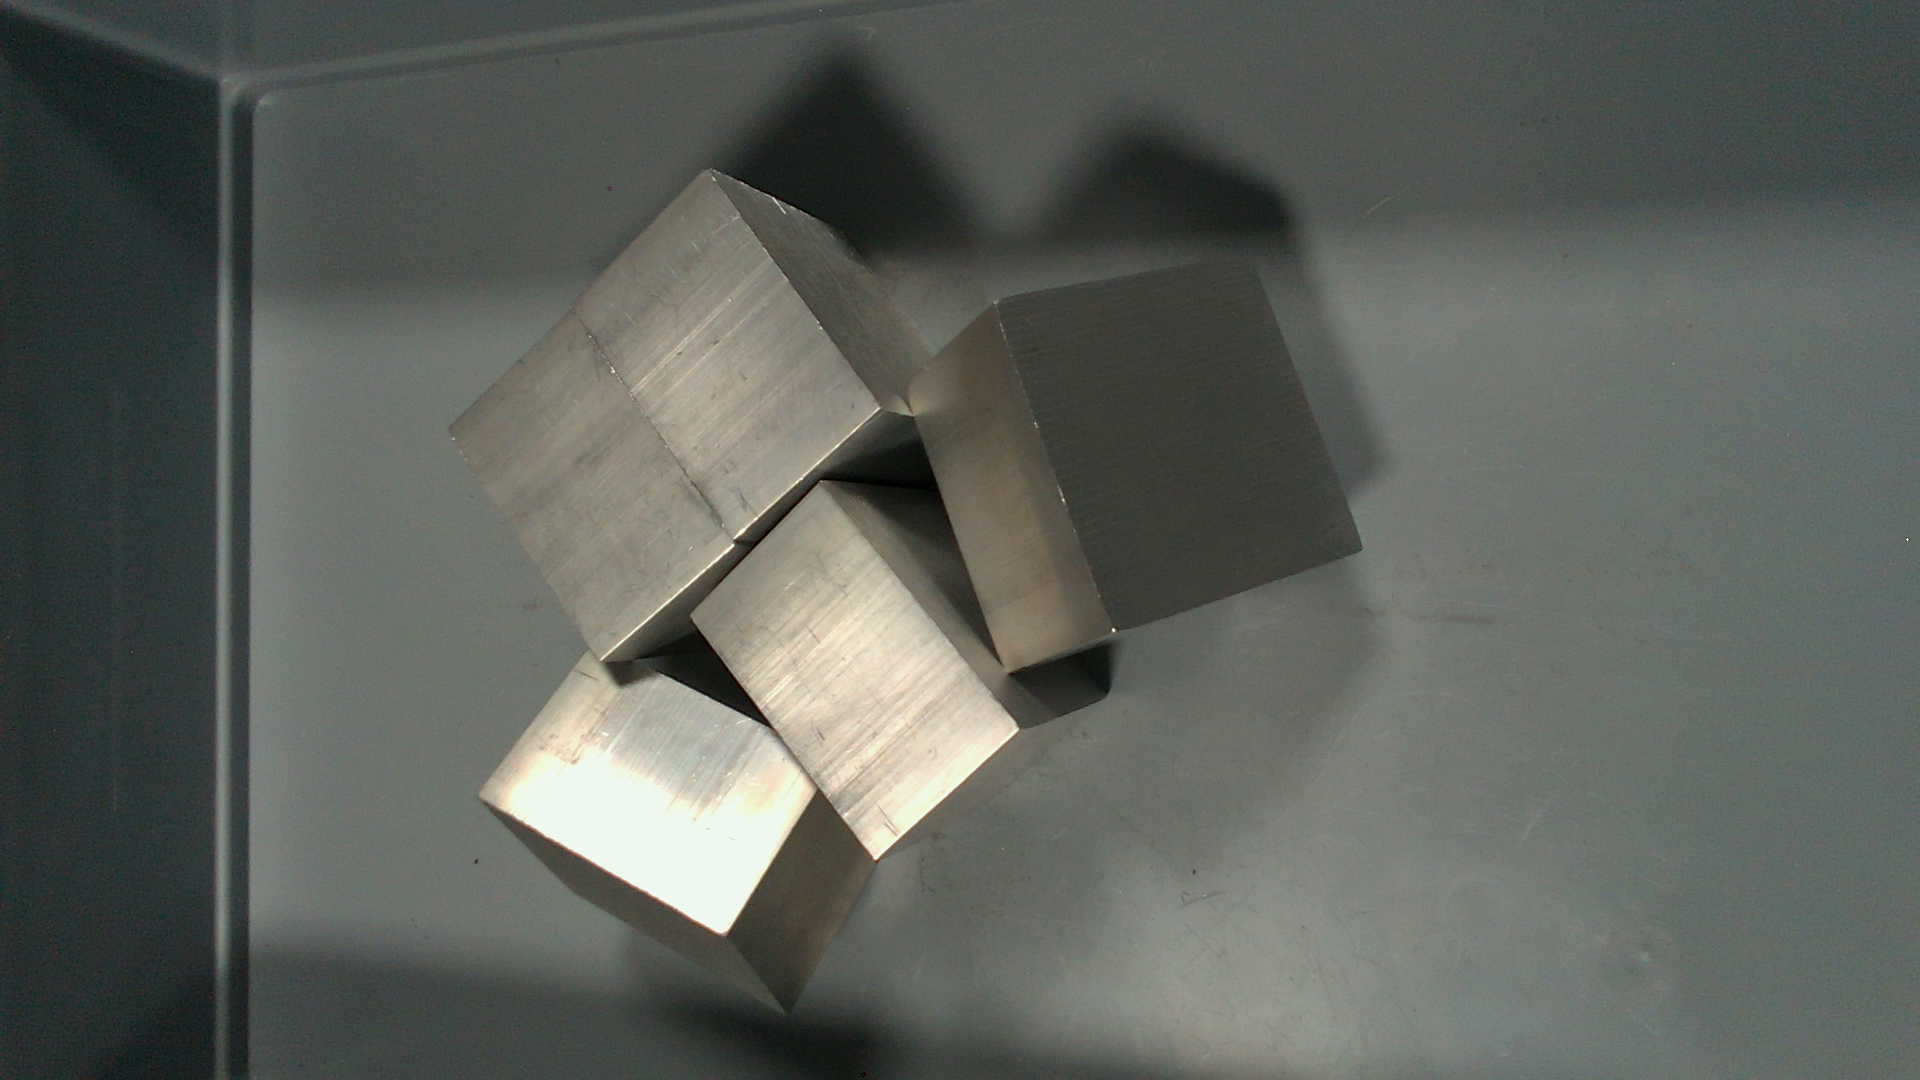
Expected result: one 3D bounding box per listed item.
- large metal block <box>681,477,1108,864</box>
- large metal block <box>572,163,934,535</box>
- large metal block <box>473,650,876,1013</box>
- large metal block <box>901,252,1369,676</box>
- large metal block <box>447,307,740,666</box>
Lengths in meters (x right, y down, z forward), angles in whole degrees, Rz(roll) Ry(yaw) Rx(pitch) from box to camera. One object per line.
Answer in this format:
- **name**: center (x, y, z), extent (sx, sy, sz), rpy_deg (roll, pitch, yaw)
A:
- **large metal block**: center (-0.014, 0.031, 0.370), extent (0.050, 0.080, 0.080), rpy_deg (-43, 76, 15)
- **large metal block**: center (-0.046, -0.048, 0.382), extent (0.050, 0.080, 0.080), rpy_deg (-40, 77, 16)
- **large metal block**: center (-0.075, 0.082, 0.386), extent (0.080, 0.080, 0.050), rpy_deg (23, 63, 18)
- **large metal block**: center (0.043, -0.020, 0.343), extent (0.050, 0.080, 0.080), rpy_deg (-31, 77, 58)
- **large metal block**: center (-0.084, -0.014, 0.396), extent (0.050, 0.080, 0.080), rpy_deg (-39, 78, 16)
